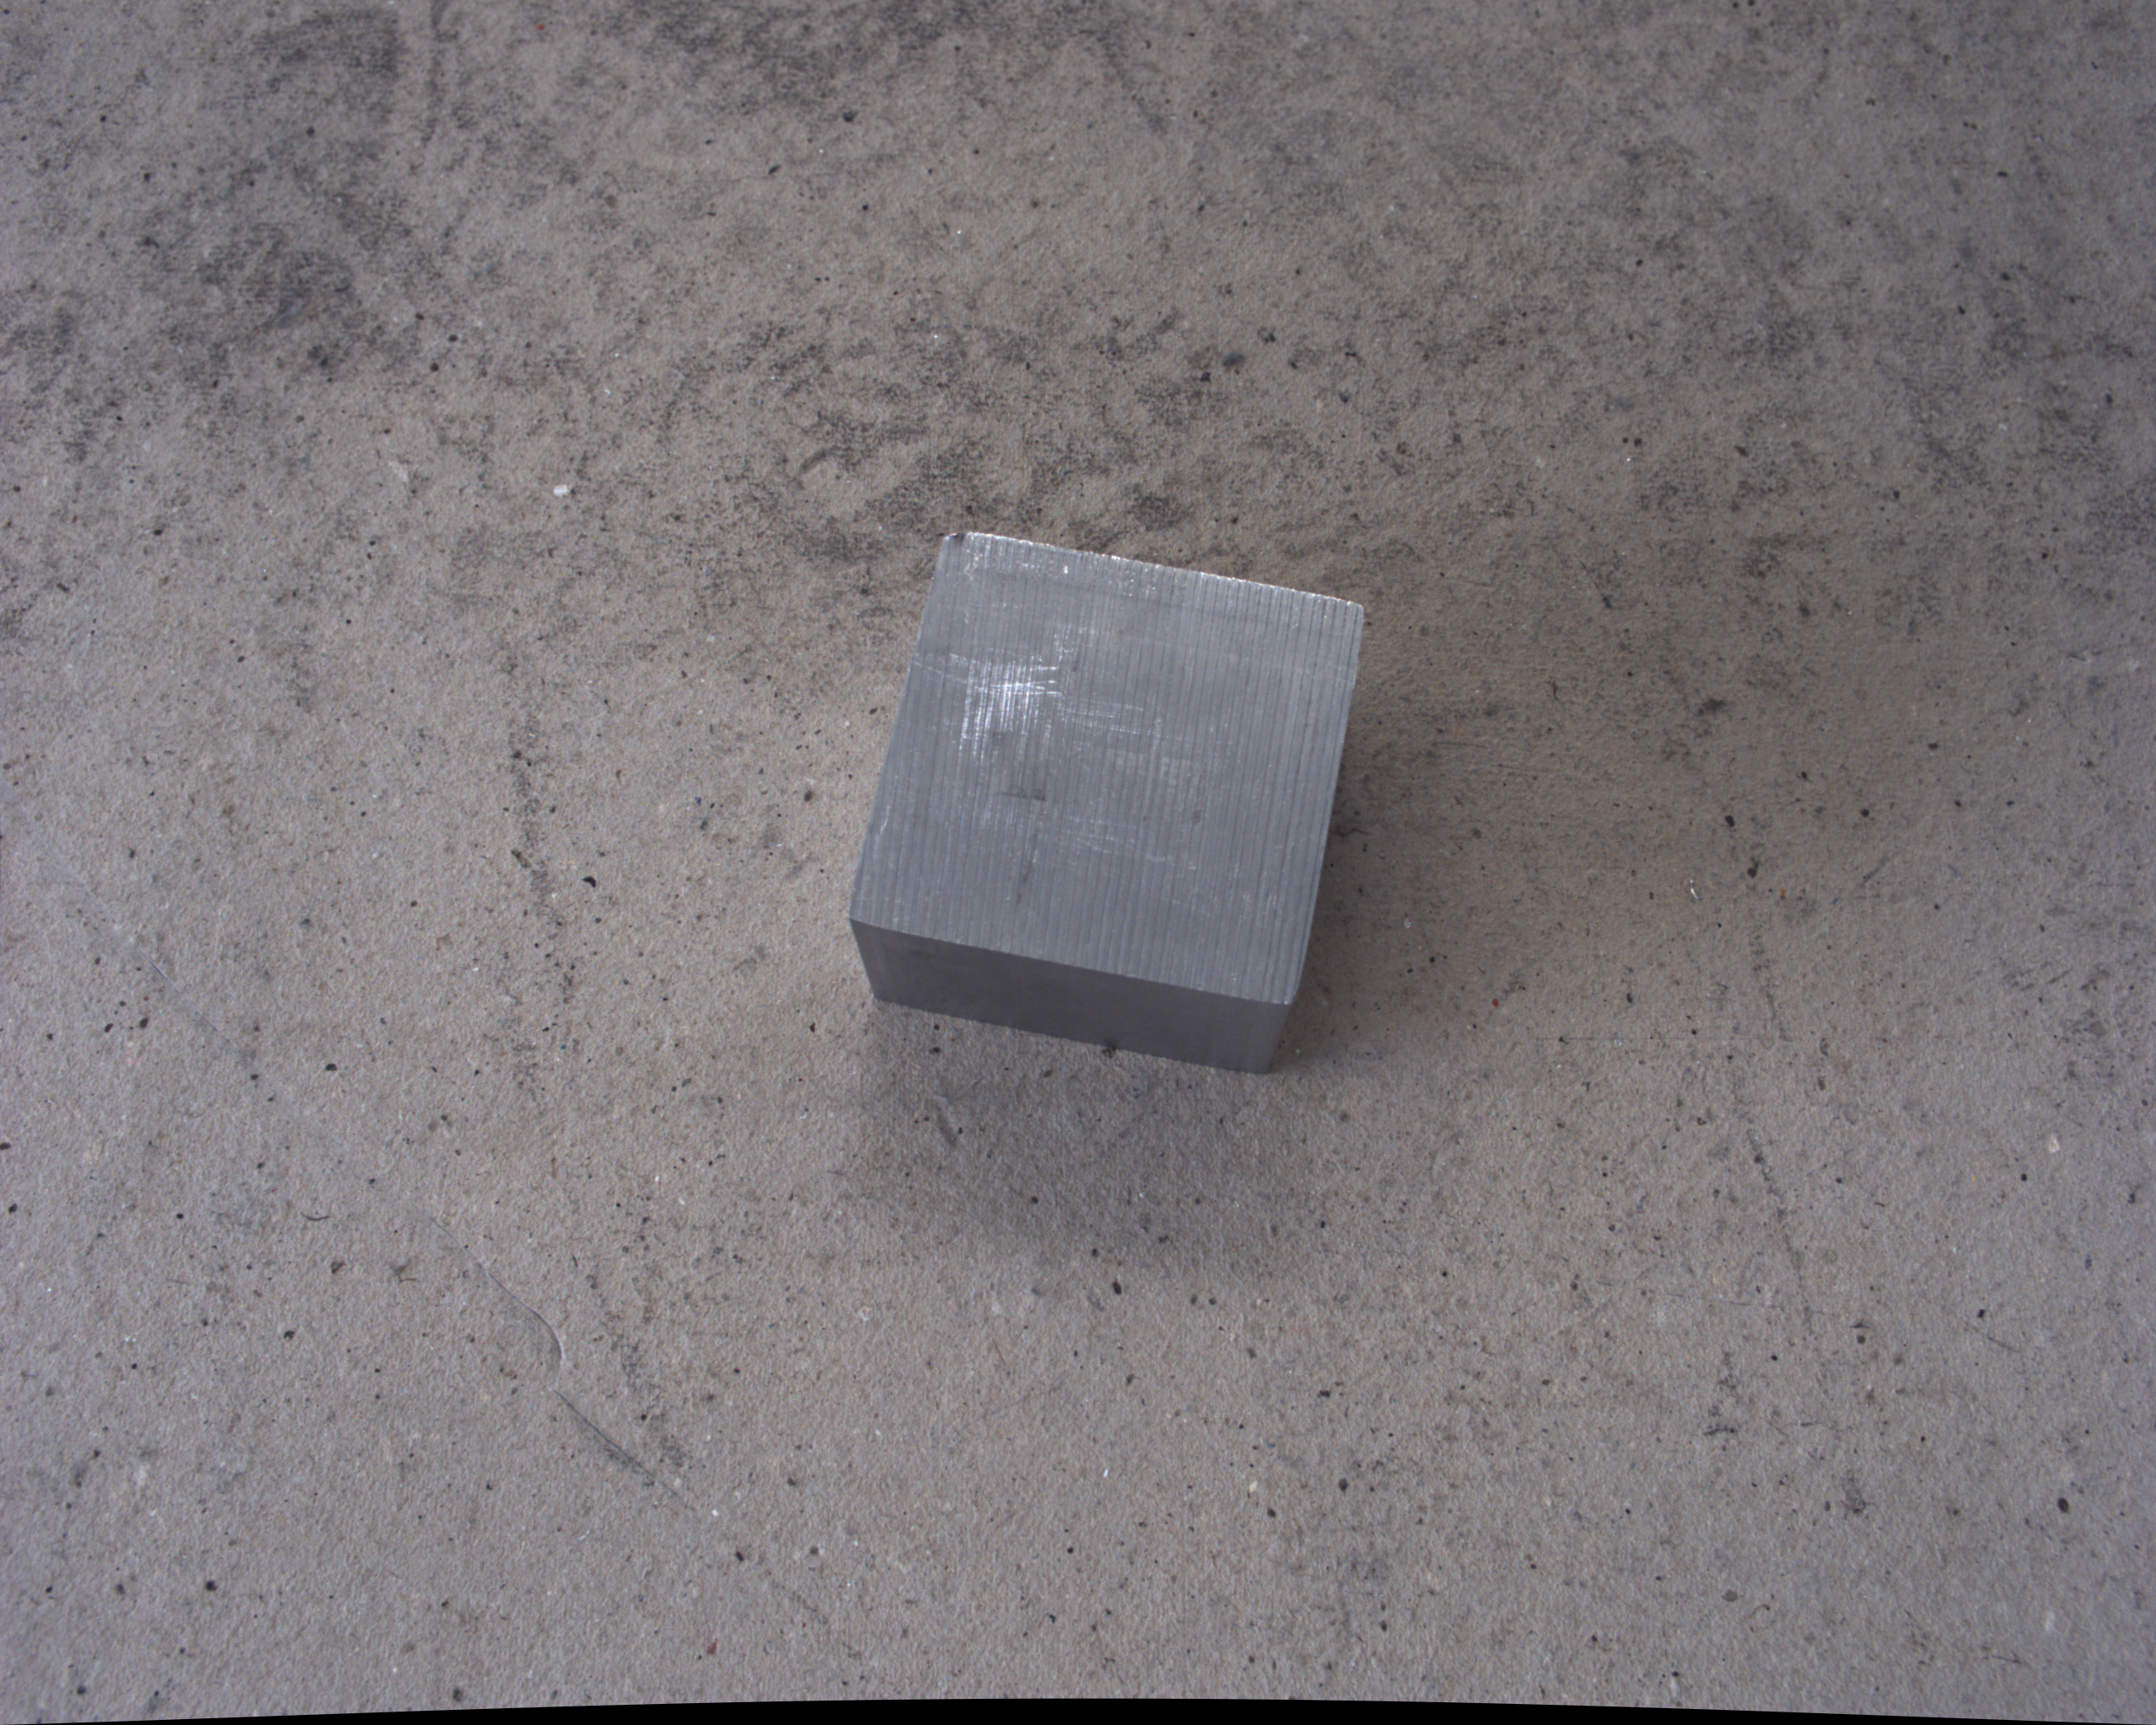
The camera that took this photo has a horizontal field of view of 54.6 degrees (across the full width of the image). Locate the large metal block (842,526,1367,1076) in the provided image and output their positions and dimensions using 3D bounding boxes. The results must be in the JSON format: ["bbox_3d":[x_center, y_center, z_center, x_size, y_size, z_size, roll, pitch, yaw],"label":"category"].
[{"bbox_3d":[0.006,-0.010,0.400,0.080,0.050,0.080,11,71,3],"label":"large metal block"}]
